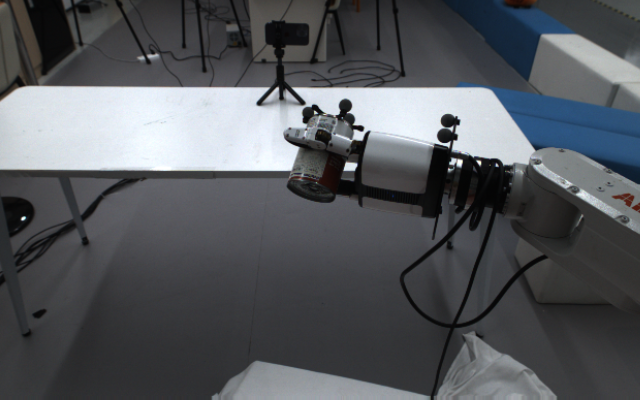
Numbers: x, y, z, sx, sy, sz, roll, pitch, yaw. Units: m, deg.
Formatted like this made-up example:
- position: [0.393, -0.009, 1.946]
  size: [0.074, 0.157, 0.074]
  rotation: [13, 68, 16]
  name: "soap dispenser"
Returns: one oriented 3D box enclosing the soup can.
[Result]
- position: [0.001, -0.058, 0.653]
  size: [0.067, 0.067, 0.101]
  rotation: [12, 71, 14]
  name: "soup can"
